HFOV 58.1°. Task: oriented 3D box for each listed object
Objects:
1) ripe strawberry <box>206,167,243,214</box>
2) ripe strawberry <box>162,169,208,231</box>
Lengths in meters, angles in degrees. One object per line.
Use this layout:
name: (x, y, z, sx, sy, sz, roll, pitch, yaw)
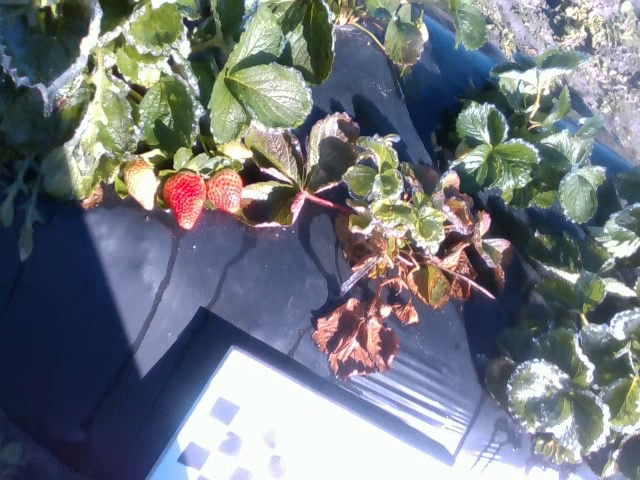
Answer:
ripe strawberry: (-0.078, -0.041, 0.493, 0.036, 0.041, 0.030, -31, 5, -5)
ripe strawberry: (-0.109, -0.028, 0.471, 0.036, 0.052, 0.040, -6, -30, -10)
